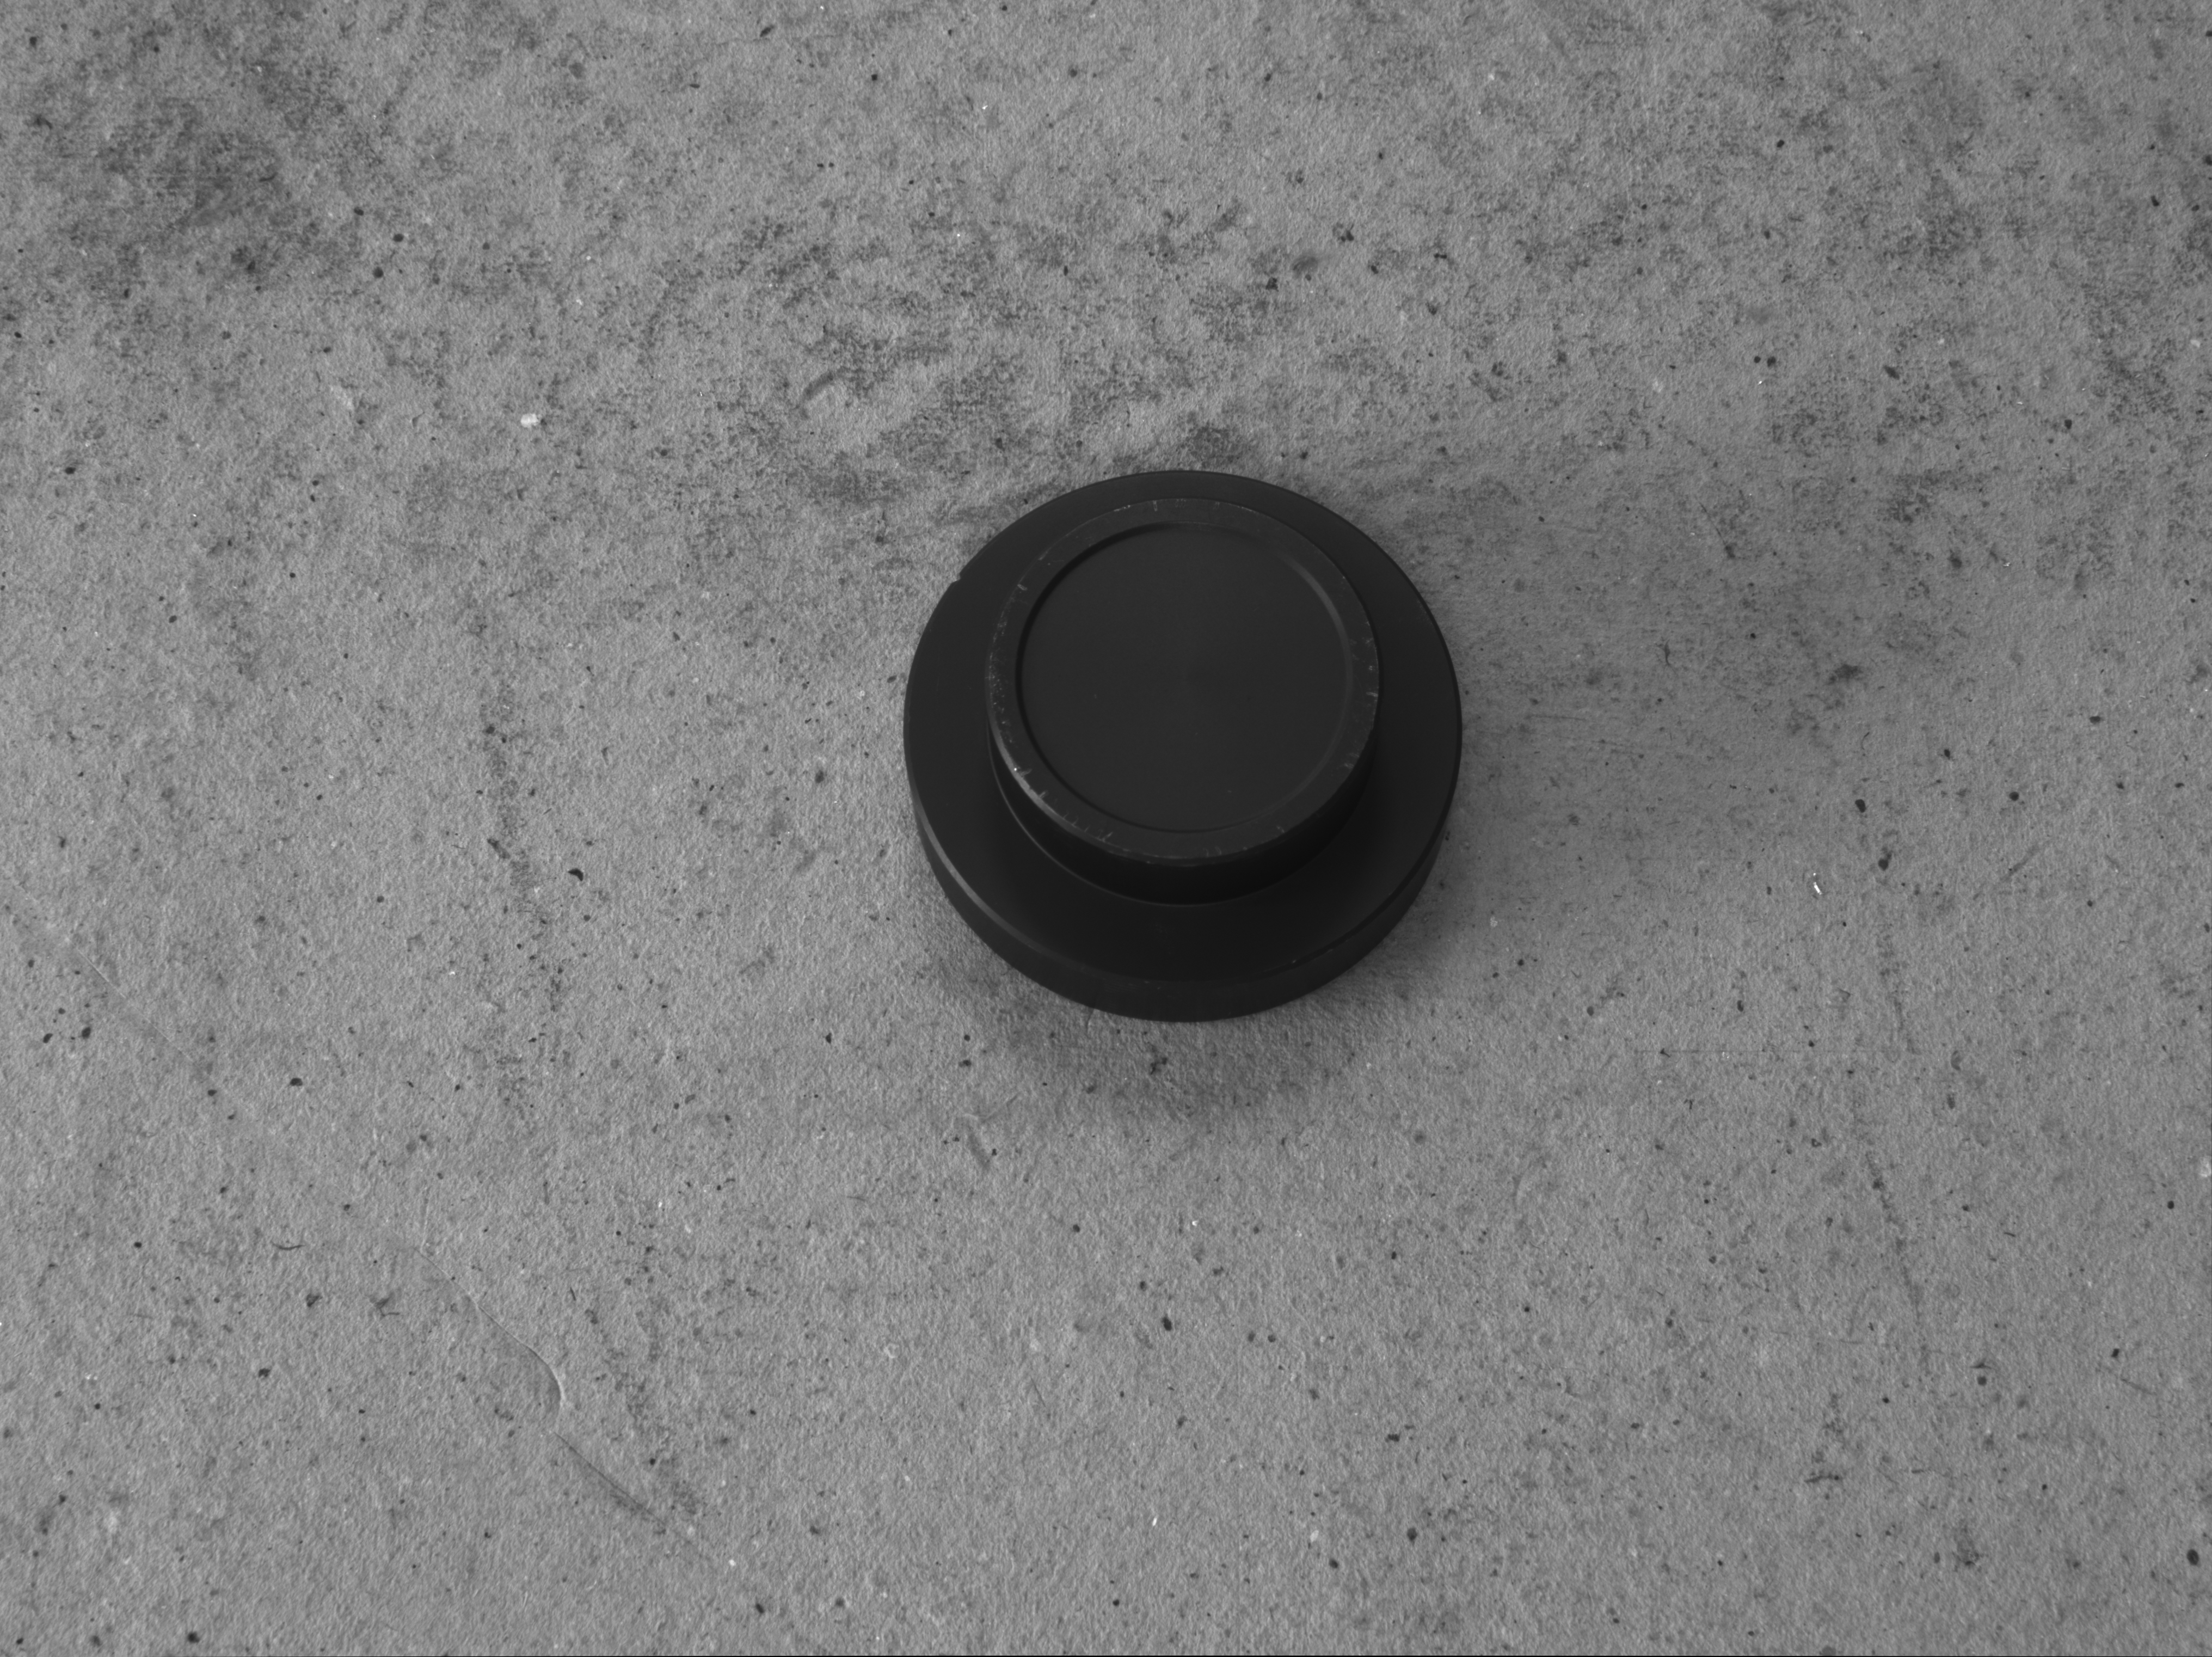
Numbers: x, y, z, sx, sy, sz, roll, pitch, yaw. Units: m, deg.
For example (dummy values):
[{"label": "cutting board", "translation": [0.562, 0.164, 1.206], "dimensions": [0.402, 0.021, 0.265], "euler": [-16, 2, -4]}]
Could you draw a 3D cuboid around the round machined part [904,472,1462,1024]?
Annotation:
[{"label": "round machined part", "translation": [0.014, -0.019, 0.644], "dimensions": [0.098, 0.042, 0.098], "euler": [0, 70, 0]}]
